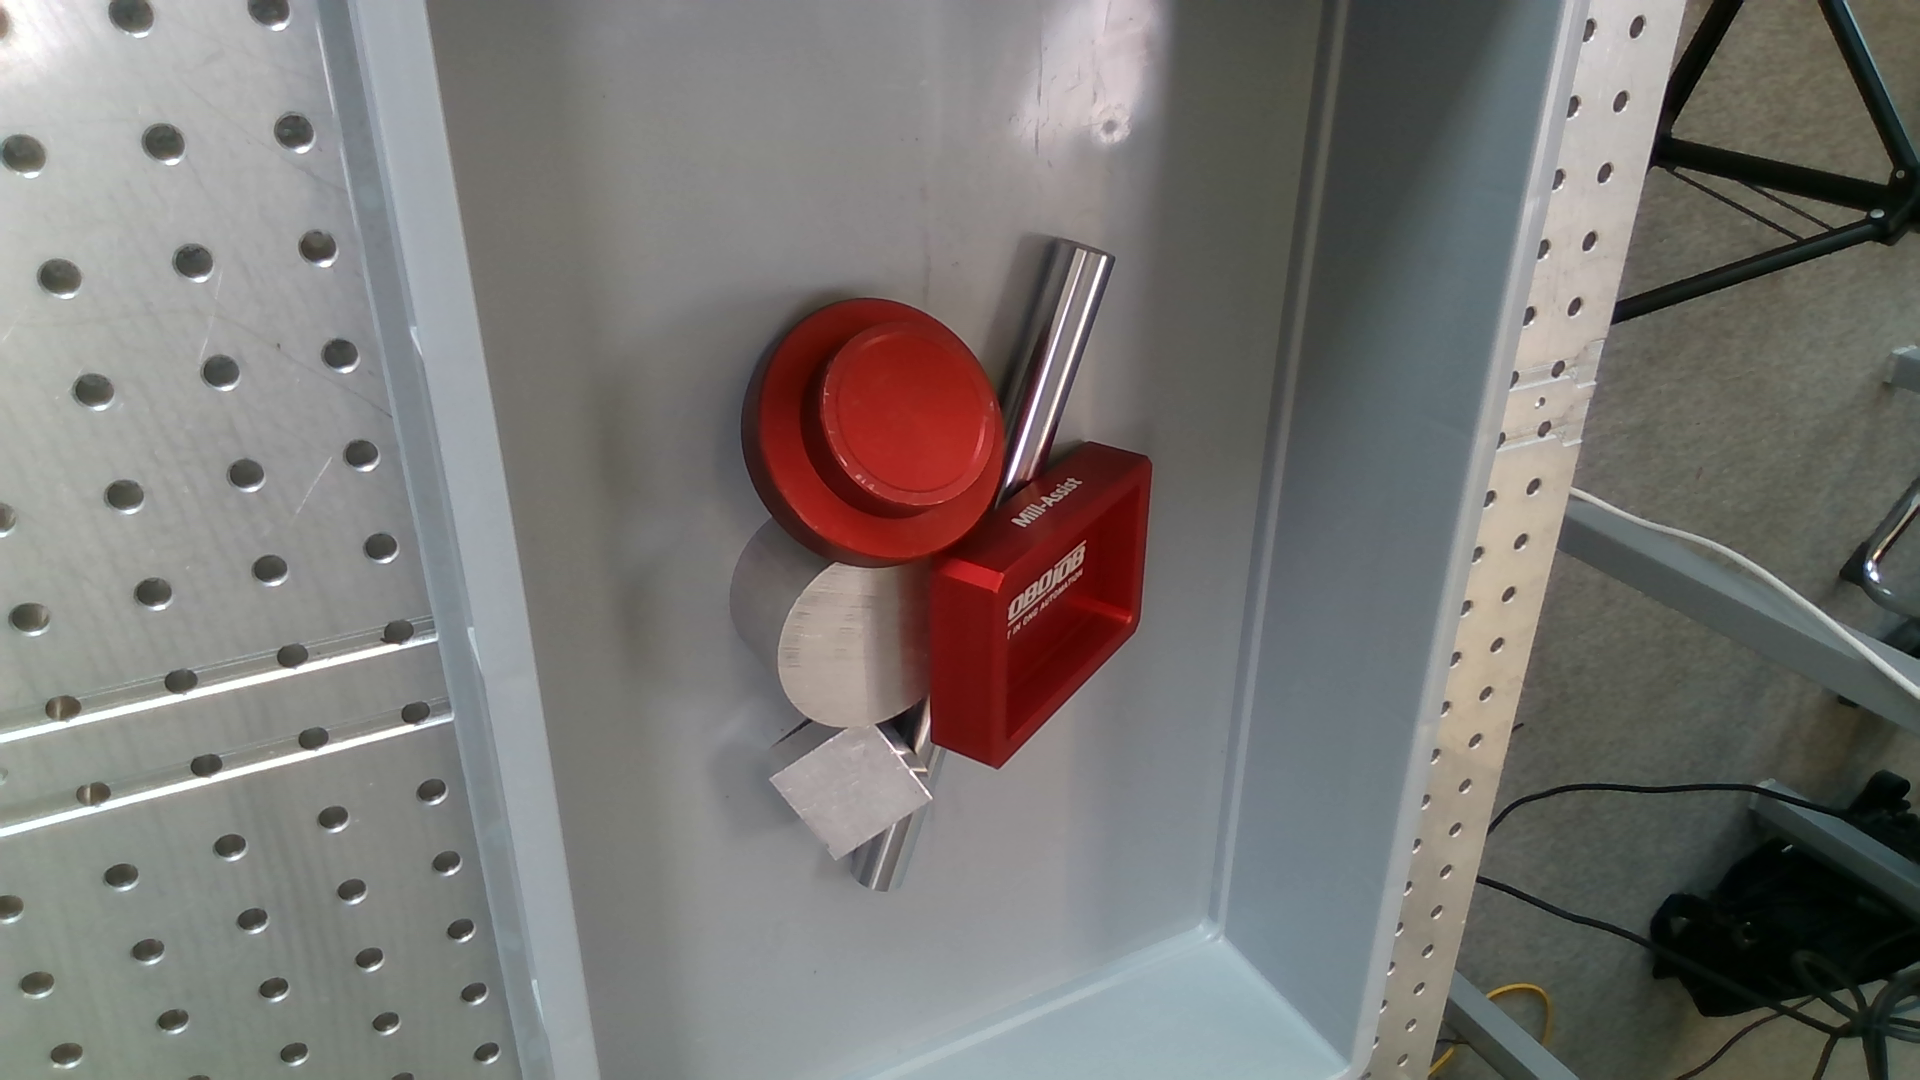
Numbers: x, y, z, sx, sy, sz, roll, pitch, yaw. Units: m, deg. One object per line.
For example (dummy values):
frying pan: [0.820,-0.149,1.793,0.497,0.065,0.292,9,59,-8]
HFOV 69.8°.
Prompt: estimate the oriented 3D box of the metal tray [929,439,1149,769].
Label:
metal tray: [0.035,0.023,0.573,0.130,0.030,0.090,-37,136,-47]

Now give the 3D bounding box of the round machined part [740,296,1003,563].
round machined part: [-0.026,-0.042,0.500,0.098,0.042,0.098,5,80,-27]

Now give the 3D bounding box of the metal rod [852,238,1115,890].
metal rod: [0.006,0.019,0.594,0.025,0.025,0.301,6,112,-34]

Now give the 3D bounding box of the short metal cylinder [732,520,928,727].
short metal cylinder: [-0.045,0.027,0.550,0.080,0.050,0.080,-14,122,-25]

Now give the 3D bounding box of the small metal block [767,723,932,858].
small metal block: [-0.048,0.100,0.590,0.050,0.025,0.050,-32,113,7]
